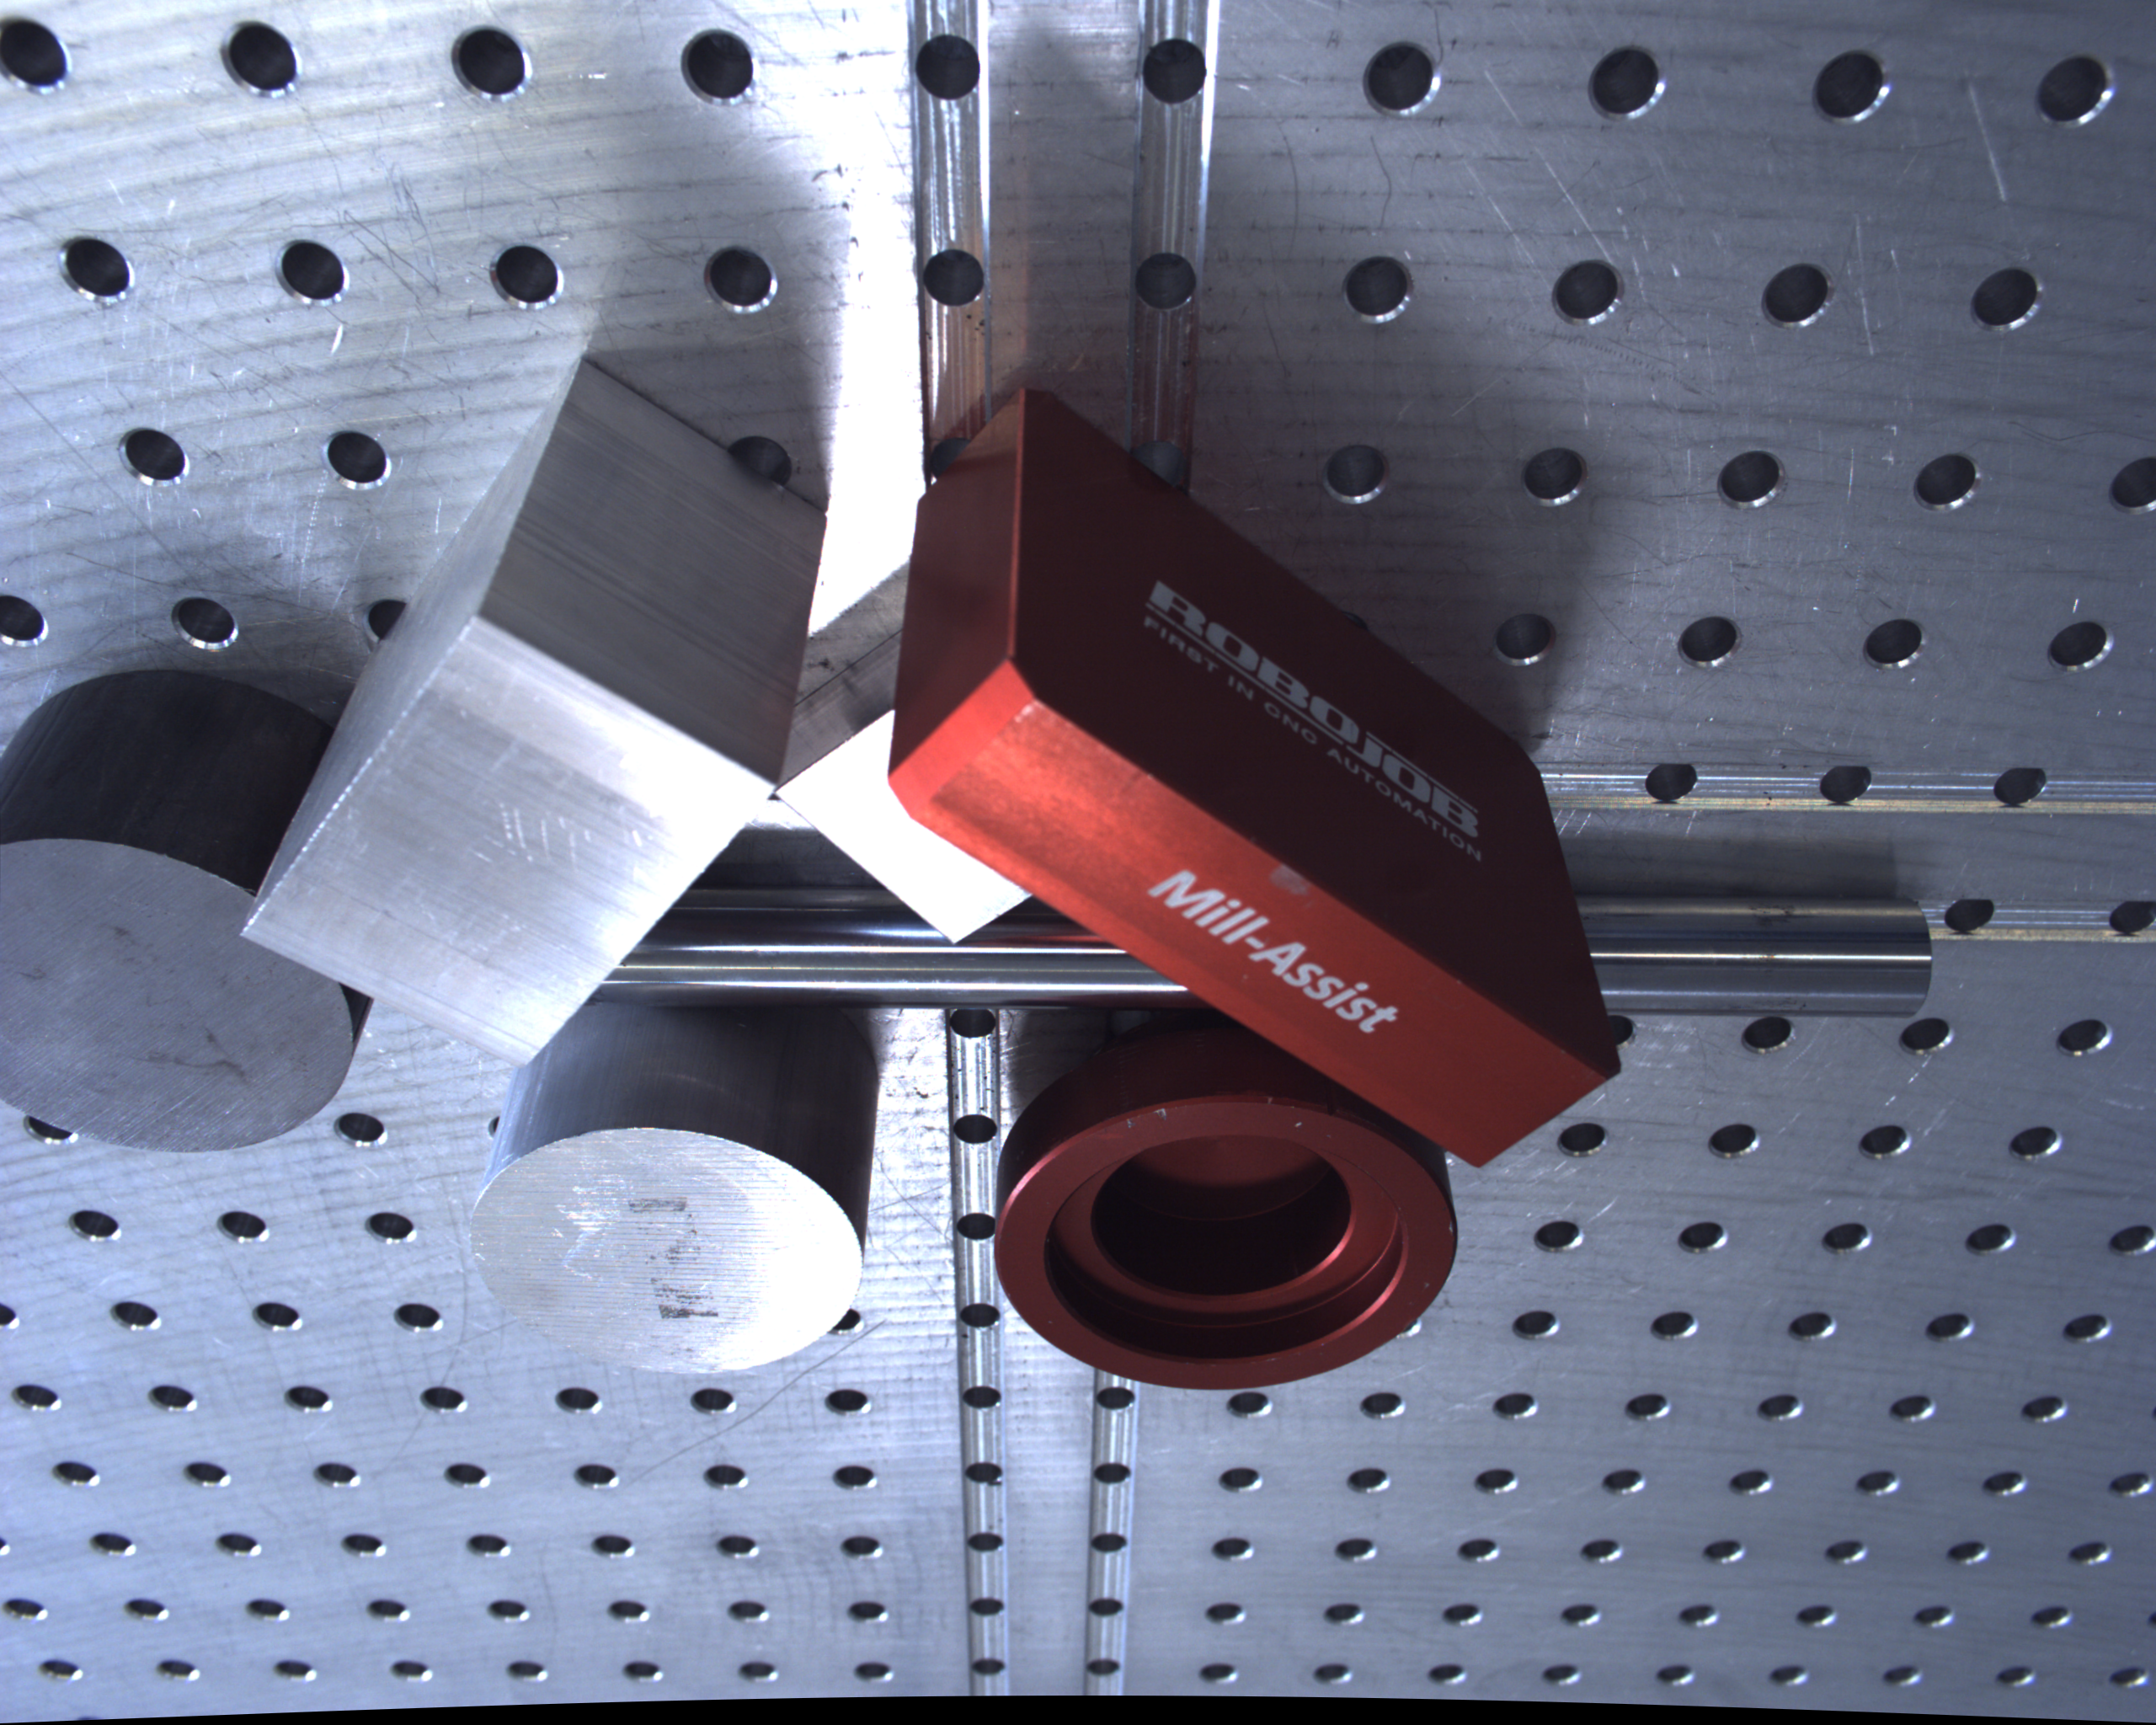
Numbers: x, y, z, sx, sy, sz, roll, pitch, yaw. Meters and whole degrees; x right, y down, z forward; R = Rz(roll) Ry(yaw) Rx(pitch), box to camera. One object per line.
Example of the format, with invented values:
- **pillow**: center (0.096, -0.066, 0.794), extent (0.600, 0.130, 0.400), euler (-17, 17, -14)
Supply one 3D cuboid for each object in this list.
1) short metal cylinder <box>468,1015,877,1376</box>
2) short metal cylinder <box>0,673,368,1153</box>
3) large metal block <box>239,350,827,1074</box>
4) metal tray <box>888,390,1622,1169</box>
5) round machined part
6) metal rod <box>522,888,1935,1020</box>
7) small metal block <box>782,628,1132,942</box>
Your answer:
- **short metal cylinder**: center (-0.085, 0.066, 0.450), extent (0.081, 0.050, 0.079), euler (0, 130, 0)
- **short metal cylinder**: center (-0.174, 0.010, 0.402), extent (0.081, 0.050, 0.079), euler (0, 130, 0)
- **large metal block**: center (-0.089, -0.025, 0.353), extent (0.050, 0.080, 0.080), euler (31, 123, -24)
- **metal tray**: center (0.031, -0.014, 0.356), extent (0.130, 0.090, 0.030), euler (33, 123, -25)
- **round machined part**: center (0.032, 0.070, 0.460), extent (0.099, 0.042, 0.097), euler (0, 130, 0)
- **metal rod**: center (0.020, 0.018, 0.427), extent (0.302, 0.025, 0.025), euler (1, 130, -1)
- **small metal block**: center (-0.021, -0.019, 0.395), extent (0.050, 0.025, 0.050), euler (-32, 124, 24)
